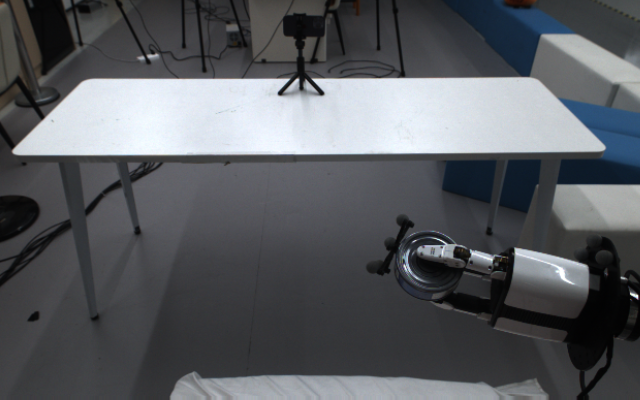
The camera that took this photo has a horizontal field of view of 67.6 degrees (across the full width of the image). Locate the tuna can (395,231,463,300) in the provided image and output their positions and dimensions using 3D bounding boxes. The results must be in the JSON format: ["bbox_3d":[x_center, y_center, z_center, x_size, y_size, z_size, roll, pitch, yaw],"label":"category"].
[{"bbox_3d":[0.140,0.080,0.617,0.085,0.034,0.085,-1,59,2],"label":"tuna can"}]
